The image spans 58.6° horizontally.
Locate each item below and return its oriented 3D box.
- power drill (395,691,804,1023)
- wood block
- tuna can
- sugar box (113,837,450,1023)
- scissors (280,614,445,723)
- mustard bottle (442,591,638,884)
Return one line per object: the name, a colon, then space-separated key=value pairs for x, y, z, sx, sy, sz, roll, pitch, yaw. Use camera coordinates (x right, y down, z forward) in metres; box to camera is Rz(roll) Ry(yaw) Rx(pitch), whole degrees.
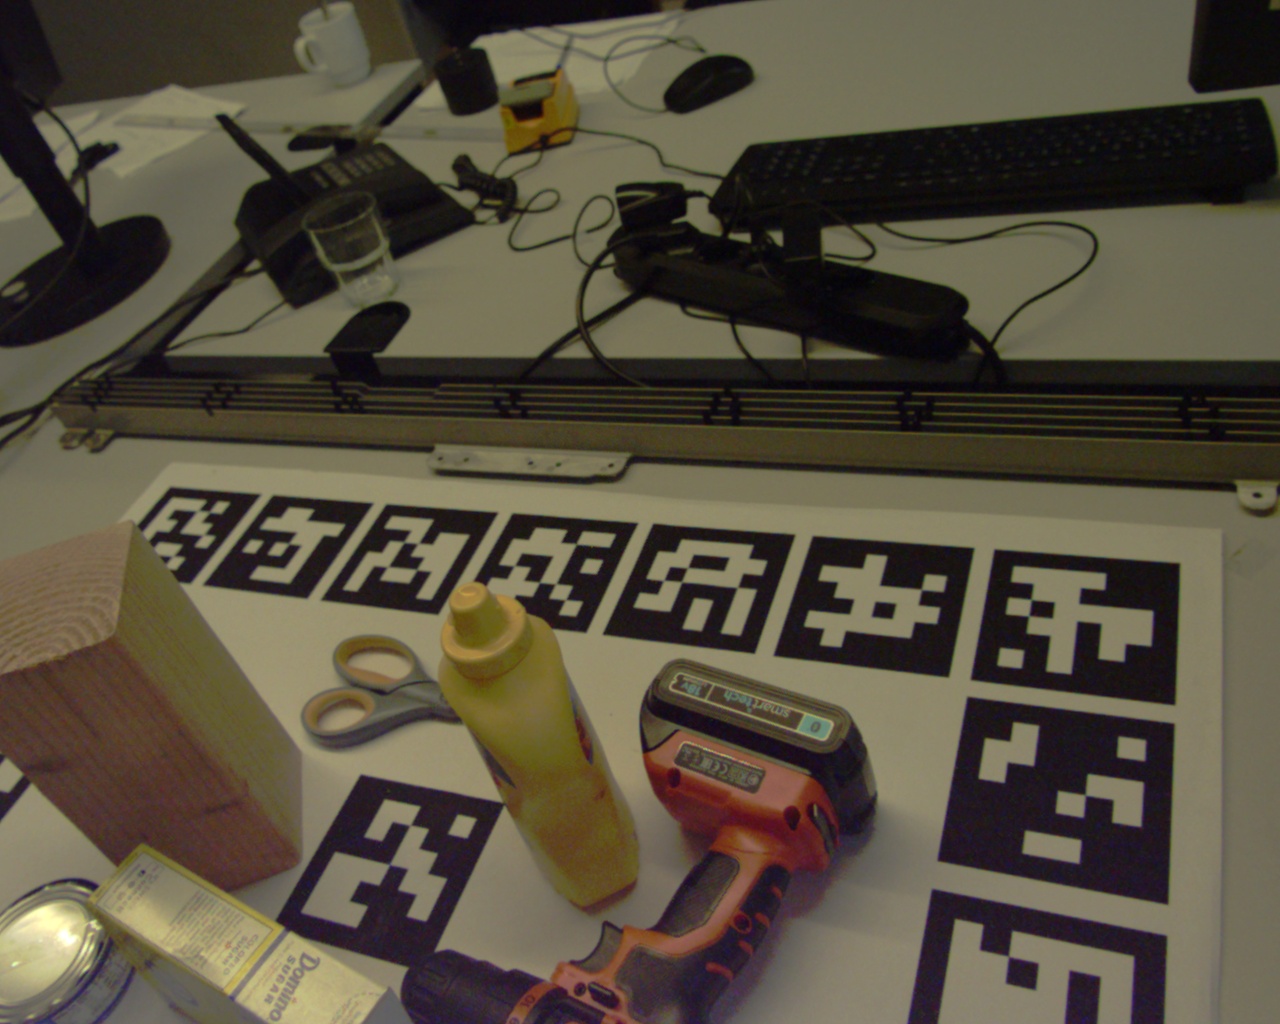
power drill: x=-0.014 y=0.188 z=0.576 sx=0.187 sy=0.057 sz=0.186 roll=15 pitch=59 yaw=33
wood block: x=-0.271 y=0.117 z=0.654 sx=0.091 sy=0.204 sz=0.090 roll=-17 pitch=43 yaw=3
tuna can: x=-0.325 y=0.243 z=0.652 sx=0.086 sy=0.033 sz=0.086 roll=-11 pitch=44 yaw=10
sugar box: x=-0.176 y=0.230 z=0.571 sx=0.179 sy=0.092 sz=0.045 roll=15 pitch=49 yaw=31
scissors: x=-0.145 y=0.110 z=0.738 sx=0.205 sy=0.016 sz=0.087 roll=5 pitch=44 yaw=26
mustard bottle: x=-0.056 y=0.107 z=0.589 sx=0.058 sy=0.190 sz=0.097 roll=-25 pitch=43 yaw=-5
